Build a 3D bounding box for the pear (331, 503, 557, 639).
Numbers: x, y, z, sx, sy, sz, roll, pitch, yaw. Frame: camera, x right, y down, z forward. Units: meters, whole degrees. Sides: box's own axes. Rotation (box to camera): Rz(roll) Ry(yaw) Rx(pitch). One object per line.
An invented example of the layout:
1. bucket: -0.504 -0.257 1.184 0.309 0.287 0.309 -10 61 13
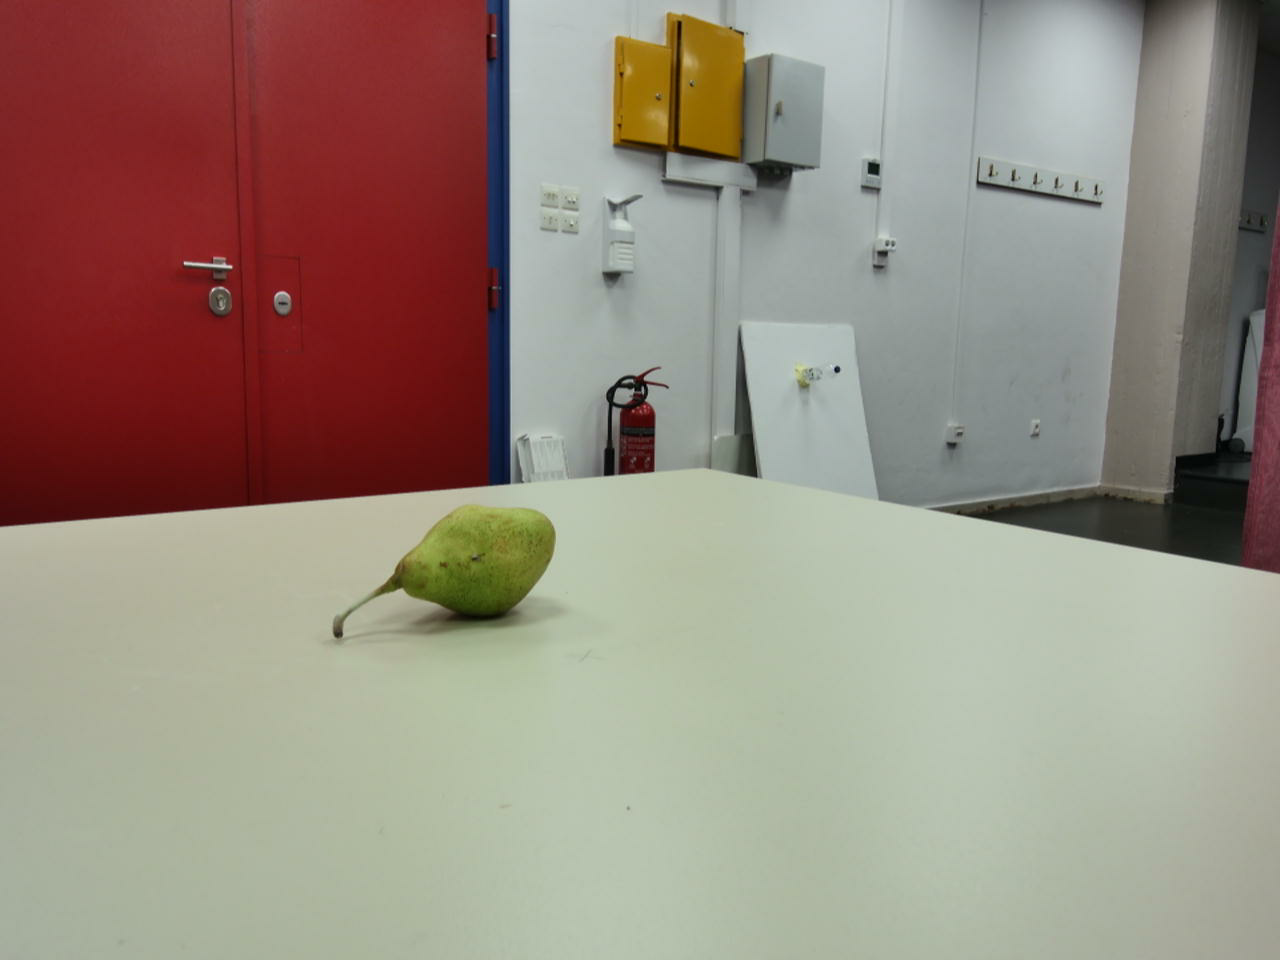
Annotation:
1. pear: -0.097 0.041 0.495 0.111 0.056 0.056 -2 7 -22
